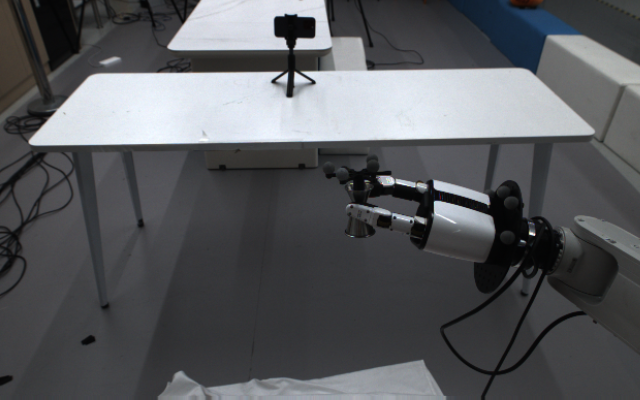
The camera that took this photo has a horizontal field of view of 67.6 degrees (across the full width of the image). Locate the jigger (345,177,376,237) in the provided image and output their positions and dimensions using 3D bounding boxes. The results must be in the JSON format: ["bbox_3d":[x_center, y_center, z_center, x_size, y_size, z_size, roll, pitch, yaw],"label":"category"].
[{"bbox_3d":[0.055,0.014,0.672,0.043,0.071,0.043,-2,19,1],"label":"jigger"}]
